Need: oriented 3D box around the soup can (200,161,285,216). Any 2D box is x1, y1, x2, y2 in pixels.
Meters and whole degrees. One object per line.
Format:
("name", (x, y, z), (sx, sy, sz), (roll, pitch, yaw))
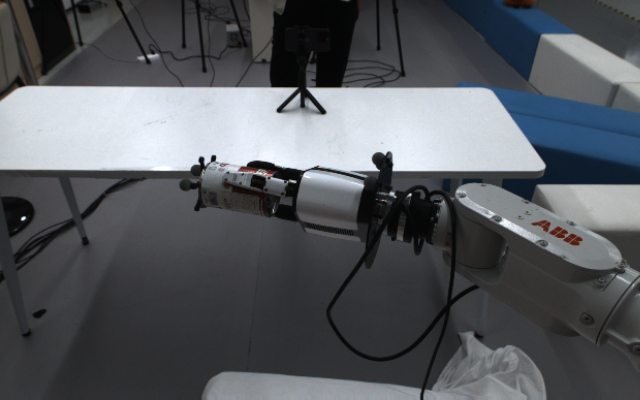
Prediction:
("soup can", (-0.111, -0.016, 0.692), (0.101, 0.067, 0.067), (9, 35, 11))
